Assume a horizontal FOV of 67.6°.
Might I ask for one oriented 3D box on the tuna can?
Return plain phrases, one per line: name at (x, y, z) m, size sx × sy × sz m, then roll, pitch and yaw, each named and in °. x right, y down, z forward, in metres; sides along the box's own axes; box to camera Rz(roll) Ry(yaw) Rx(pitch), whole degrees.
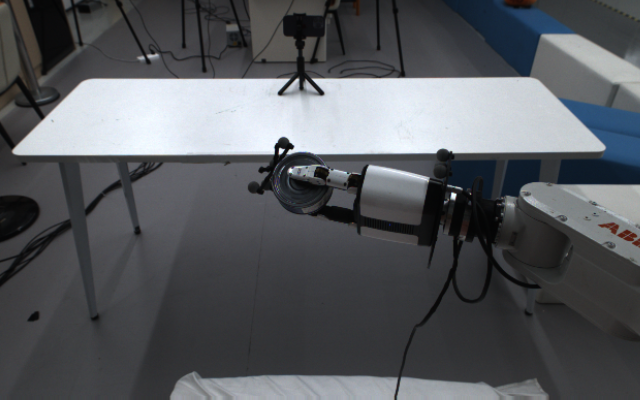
tuna can at (-0.022, -0.021, 0.687) m, size 0.085 × 0.034 × 0.085 m, roll -1°, pitch 73°, yaw 4°
